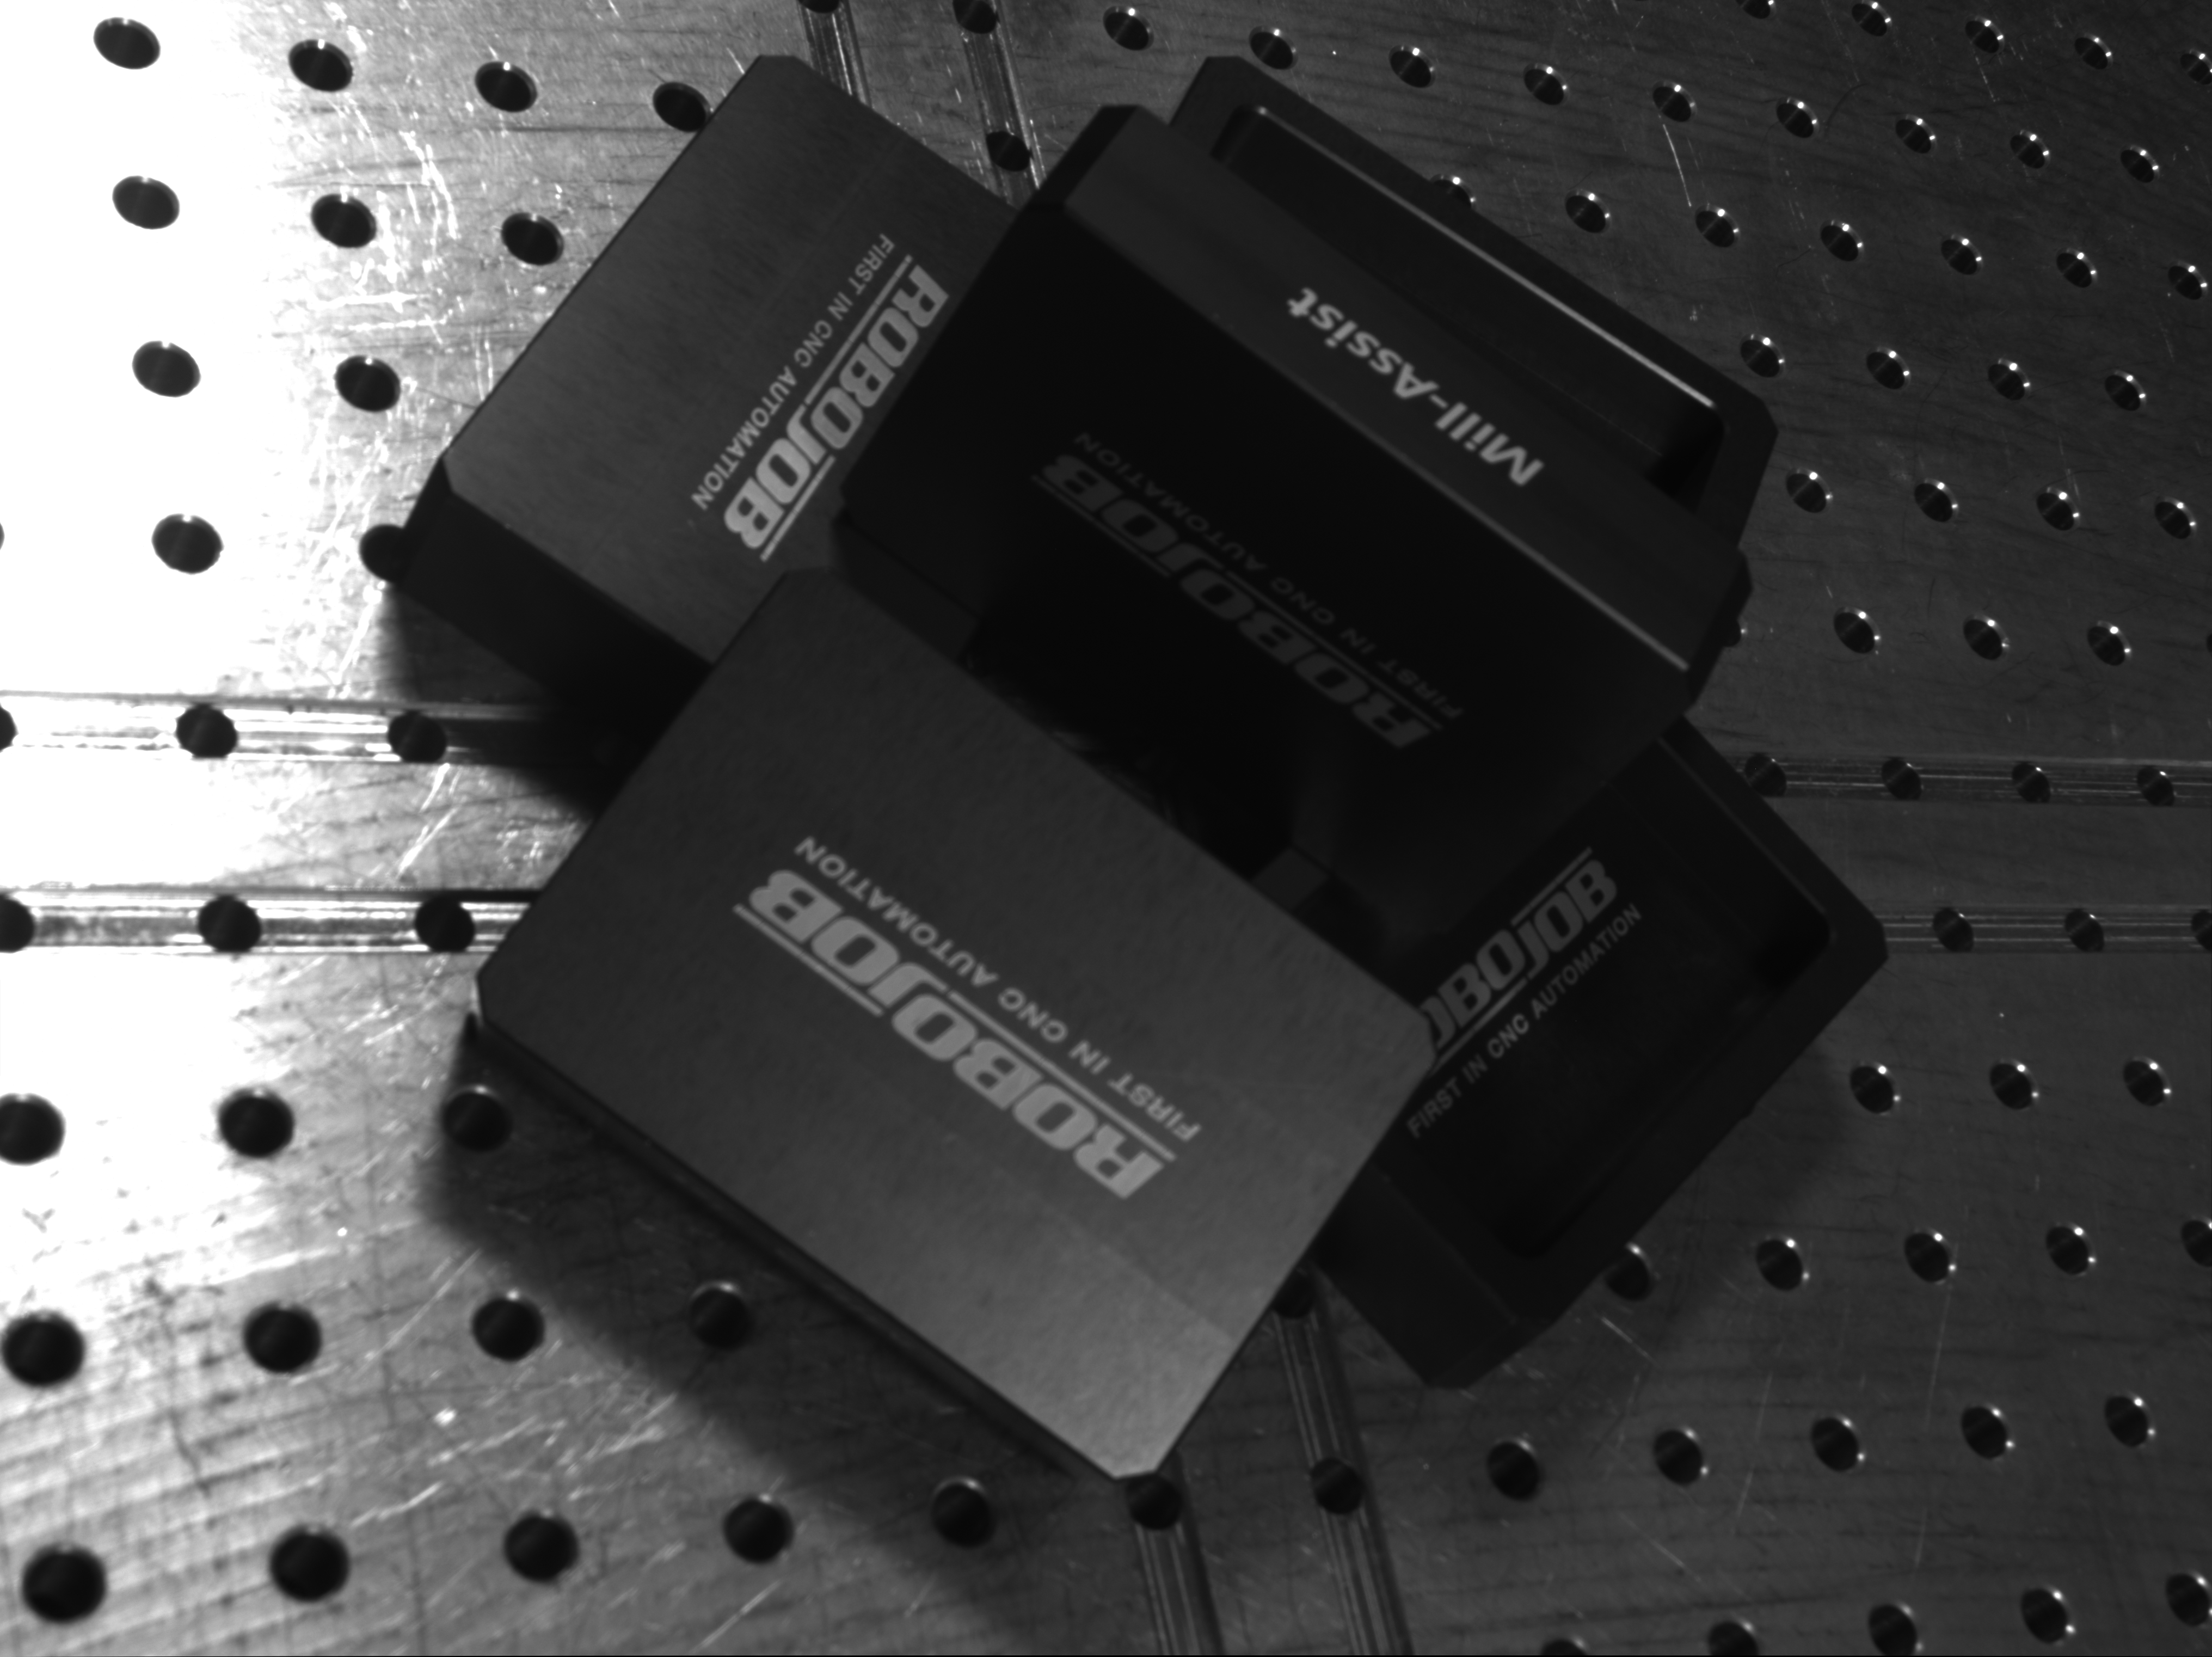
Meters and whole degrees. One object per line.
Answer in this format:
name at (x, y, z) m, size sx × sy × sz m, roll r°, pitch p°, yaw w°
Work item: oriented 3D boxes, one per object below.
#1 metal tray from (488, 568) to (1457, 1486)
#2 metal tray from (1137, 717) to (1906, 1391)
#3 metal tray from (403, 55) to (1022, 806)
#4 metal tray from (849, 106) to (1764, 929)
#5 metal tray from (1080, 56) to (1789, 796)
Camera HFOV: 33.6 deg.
metal tray at (-0.021, 0.032, 0.584) m, size 0.130 × 0.030 × 0.090 m, roll 37°, pitch 76°, yaw -4°
metal tray at (0.077, 0.028, 0.662) m, size 0.090 × 0.030 × 0.130 m, roll 47°, pitch 51°, yaw 5°
metal tray at (-0.053, -0.070, 0.653) m, size 0.090 × 0.030 × 0.130 m, roll 34°, pitch 51°, yaw -6°
metal tray at (0.031, -0.049, 0.608) m, size 0.130 × 0.090 × 0.030 m, roll 35°, pitch 51°, yaw -5°
metal tray at (0.056, -0.075, 0.676) m, size 0.130 × 0.030 × 0.090 m, roll 32°, pitch 51°, yaw -8°
